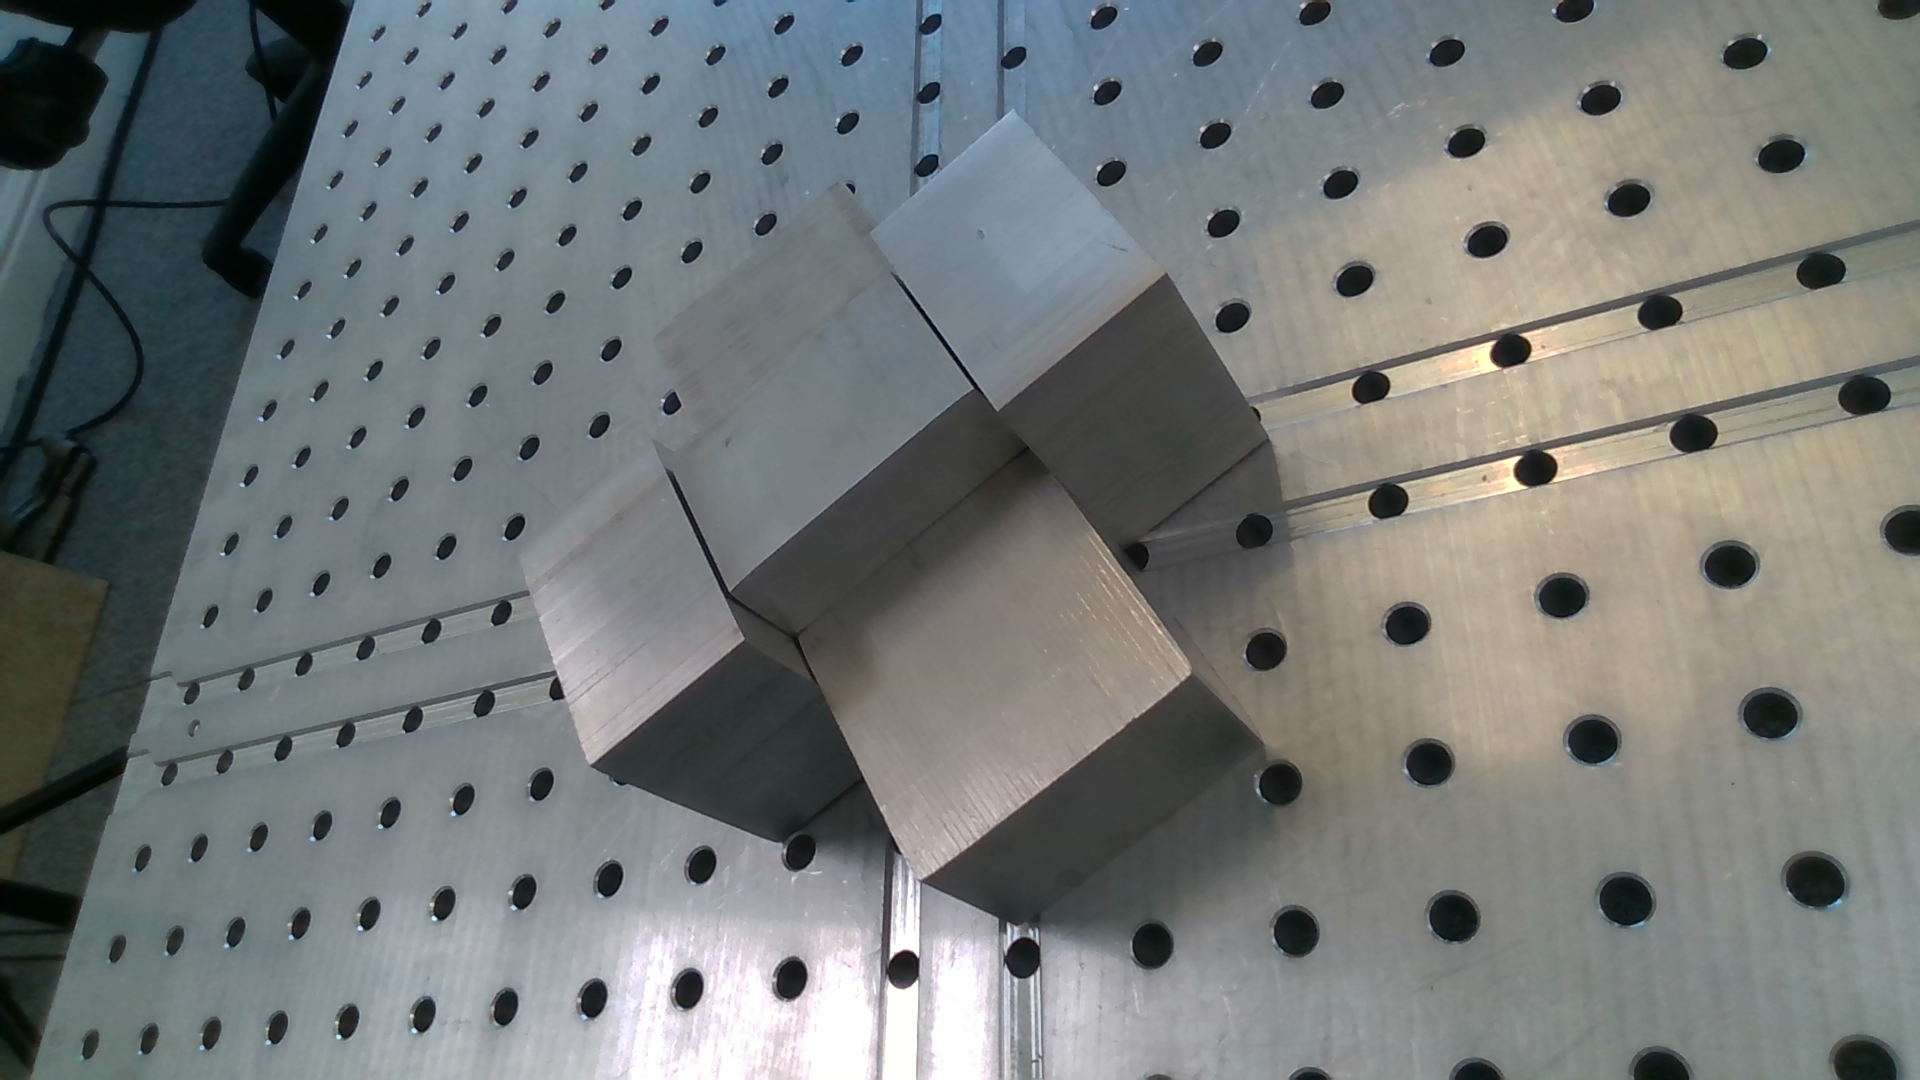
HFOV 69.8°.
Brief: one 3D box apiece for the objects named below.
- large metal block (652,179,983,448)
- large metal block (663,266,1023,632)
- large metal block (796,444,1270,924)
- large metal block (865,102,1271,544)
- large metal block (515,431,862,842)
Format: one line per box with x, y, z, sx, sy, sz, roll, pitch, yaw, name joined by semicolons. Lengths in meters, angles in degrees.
-0.040;-0.052;0.433;0.080;0.050;0.080;-37;52;9;large metal block
-0.019;-0.013;0.379;0.080;0.080;0.050;-39;52;8;large metal block
0.016;0.036;0.350;0.080;0.050;0.080;-40;51;10;large metal block
0.030;-0.056;0.371;0.050;0.080;0.080;-38;52;8;large metal block
-0.069;0.029;0.387;0.050;0.080;0.080;-39;52;8;large metal block
